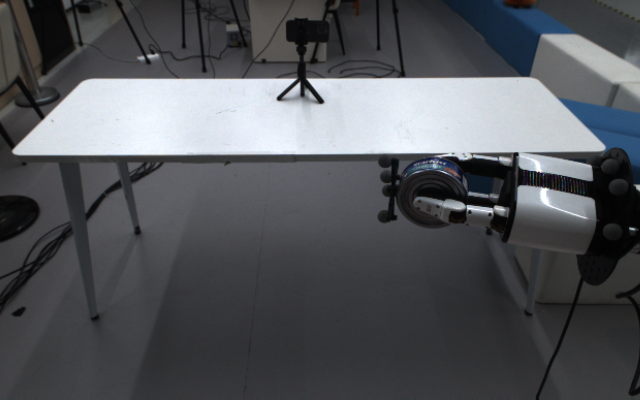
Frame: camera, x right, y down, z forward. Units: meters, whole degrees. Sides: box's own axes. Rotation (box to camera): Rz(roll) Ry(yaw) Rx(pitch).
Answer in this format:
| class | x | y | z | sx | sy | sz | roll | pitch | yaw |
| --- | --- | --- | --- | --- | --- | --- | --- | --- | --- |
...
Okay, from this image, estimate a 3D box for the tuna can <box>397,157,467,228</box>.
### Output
| class | x | y | z | sx | sy | sz | roll | pitch | yaw |
| --- | --- | --- | --- | --- | --- | --- | --- | --- | --- |
| tuna can | 0.140 | -0.013 | 0.595 | 0.085 | 0.085 | 0.034 | 9 | 32 | 10 |
